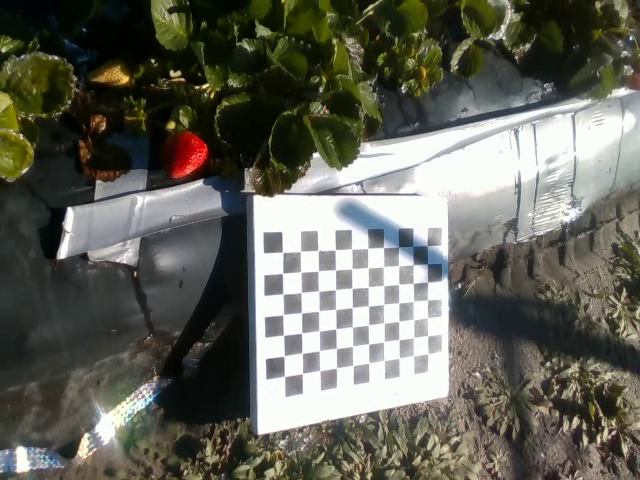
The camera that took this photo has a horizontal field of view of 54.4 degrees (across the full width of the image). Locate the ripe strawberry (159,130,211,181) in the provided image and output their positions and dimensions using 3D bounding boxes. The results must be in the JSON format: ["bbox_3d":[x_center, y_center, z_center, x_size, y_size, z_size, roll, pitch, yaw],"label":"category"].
[{"bbox_3d":[-0.149,-0.087,0.689,0.061,0.065,0.057,35,-60,-30],"label":"ripe strawberry"}]
